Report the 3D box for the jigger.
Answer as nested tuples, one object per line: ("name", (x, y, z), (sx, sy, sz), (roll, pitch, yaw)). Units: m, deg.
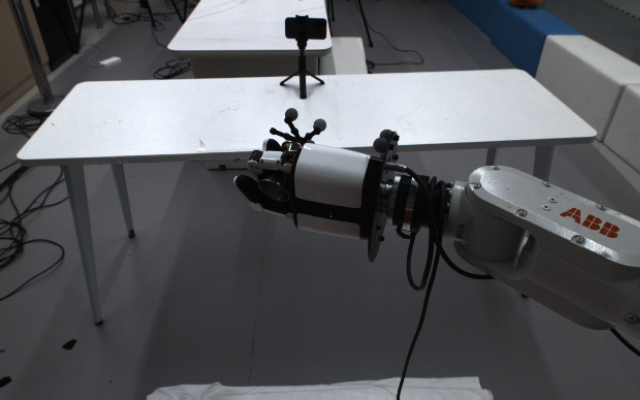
("jigger", (-0.044, -0.040, 0.617), (0.043, 0.043, 0.071), (15, 58, 18))
